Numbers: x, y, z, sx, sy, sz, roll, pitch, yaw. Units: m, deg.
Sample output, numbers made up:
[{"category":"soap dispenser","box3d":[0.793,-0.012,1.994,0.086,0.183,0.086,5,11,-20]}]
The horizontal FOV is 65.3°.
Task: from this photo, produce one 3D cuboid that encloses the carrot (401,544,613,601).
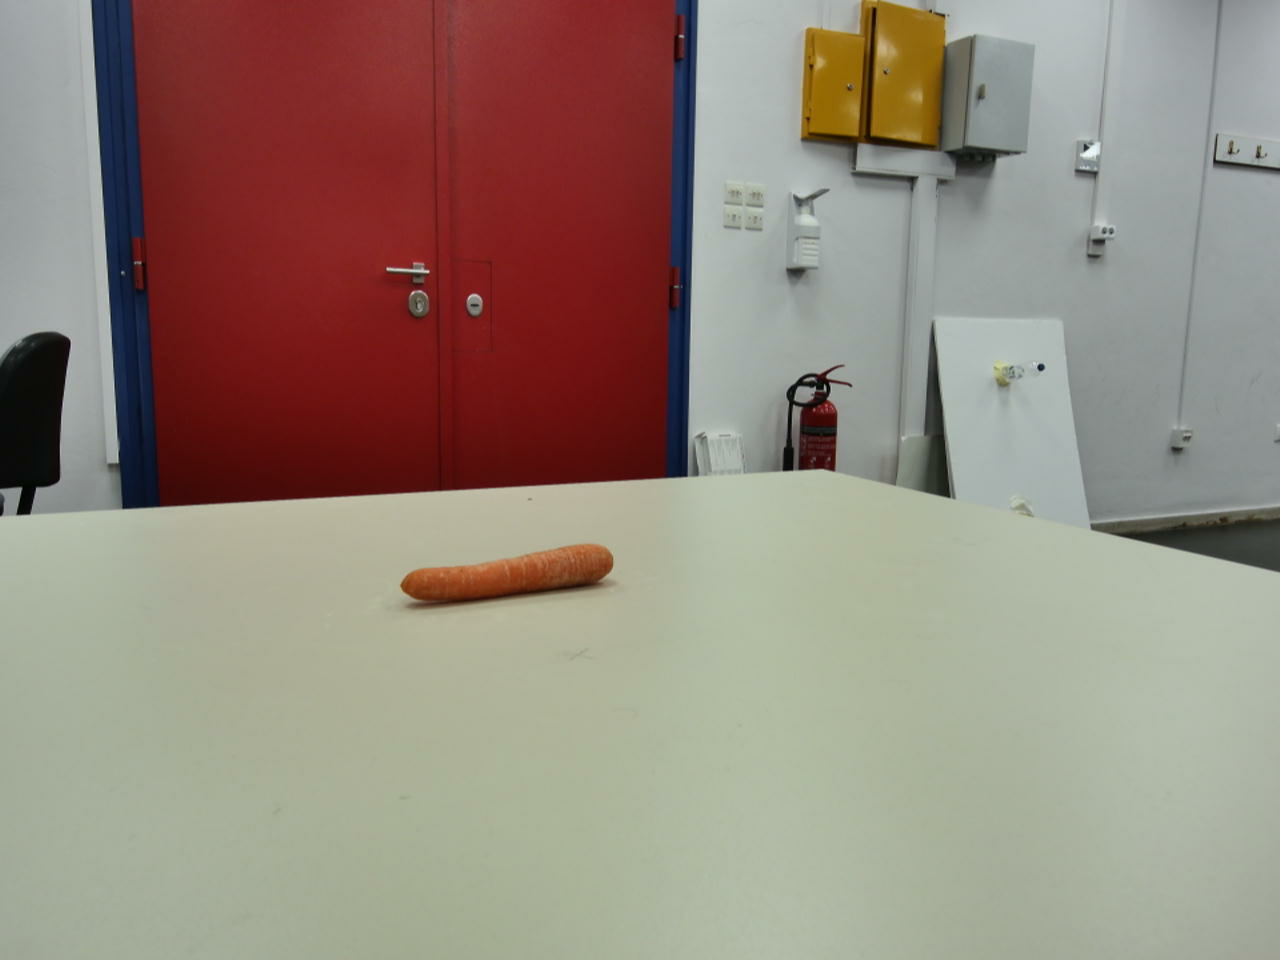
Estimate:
[{"category":"carrot","box3d":[-0.070,0.051,0.551,0.122,0.023,0.024,-4,8,-28]}]
